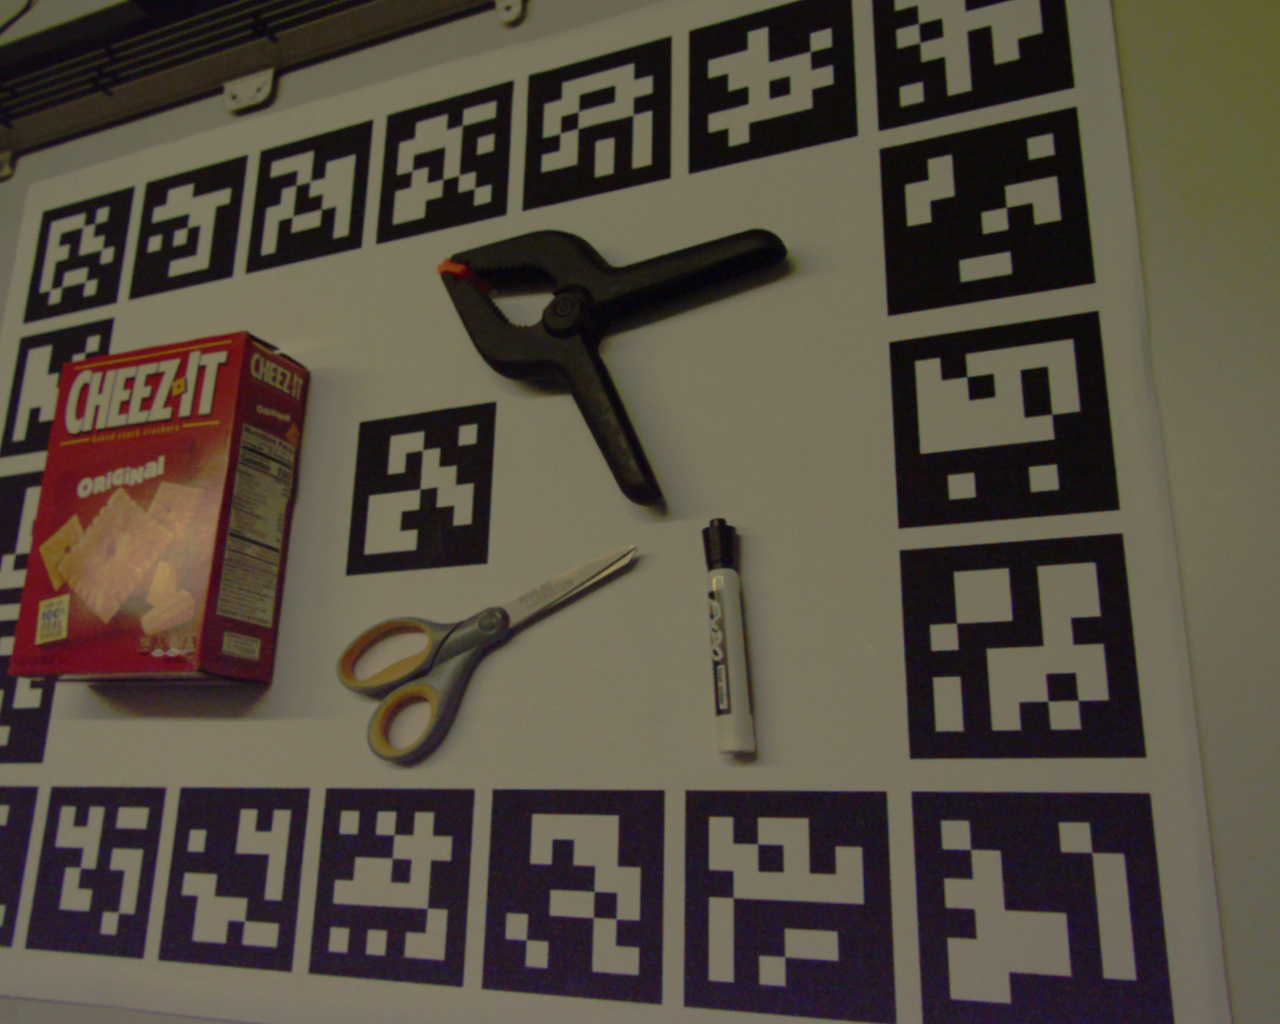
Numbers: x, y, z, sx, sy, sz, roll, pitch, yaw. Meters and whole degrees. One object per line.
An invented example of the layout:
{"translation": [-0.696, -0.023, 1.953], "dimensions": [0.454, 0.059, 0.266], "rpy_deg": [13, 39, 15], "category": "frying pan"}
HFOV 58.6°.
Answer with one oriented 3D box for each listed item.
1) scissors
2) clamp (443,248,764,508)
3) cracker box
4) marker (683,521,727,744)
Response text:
{"translation": [-0.096, 0.072, 0.678], "dimensions": [0.203, 0.015, 0.088], "rpy_deg": [-33, 62, 10], "category": "scissors"}
{"translation": [-0.045, -0.112, 0.715], "dimensions": [0.205, 0.036, 0.165], "rpy_deg": [27, 86, 28], "category": "clamp"}
{"translation": [-0.318, 0.009, 0.773], "dimensions": [0.166, 0.071, 0.214], "rpy_deg": [-5, 73, 24], "category": "cracker box"}
{"translation": [0.035, 0.063, 0.618], "dimensions": [0.020, 0.019, 0.121], "rpy_deg": [-10, 70, 22], "category": "marker"}
